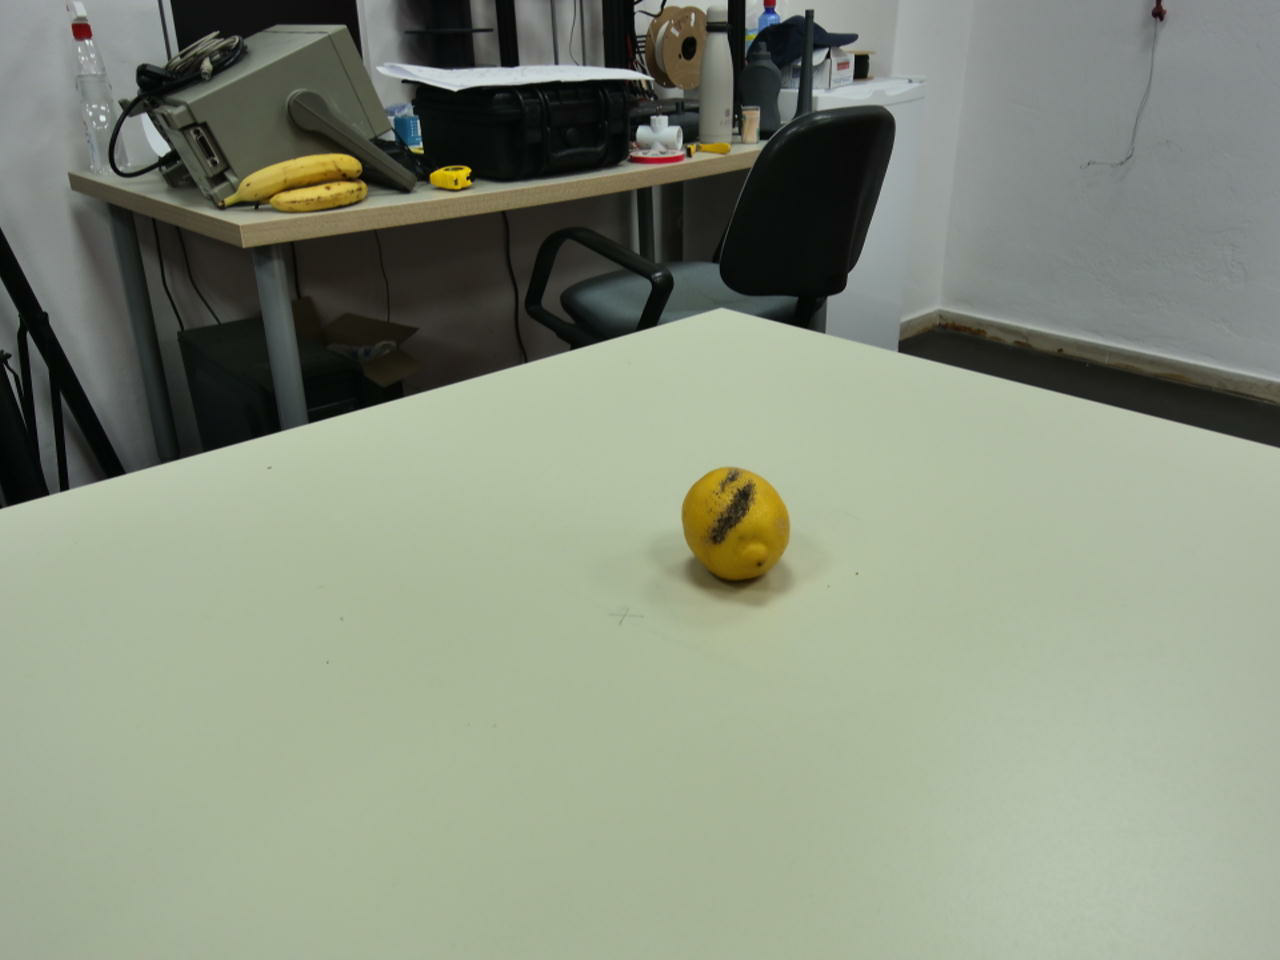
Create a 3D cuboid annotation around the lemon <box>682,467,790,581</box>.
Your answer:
[{"bbox_3d":[0.051,0.023,0.532,0.061,0.056,0.058,19,30,37],"label":"lemon"}]
